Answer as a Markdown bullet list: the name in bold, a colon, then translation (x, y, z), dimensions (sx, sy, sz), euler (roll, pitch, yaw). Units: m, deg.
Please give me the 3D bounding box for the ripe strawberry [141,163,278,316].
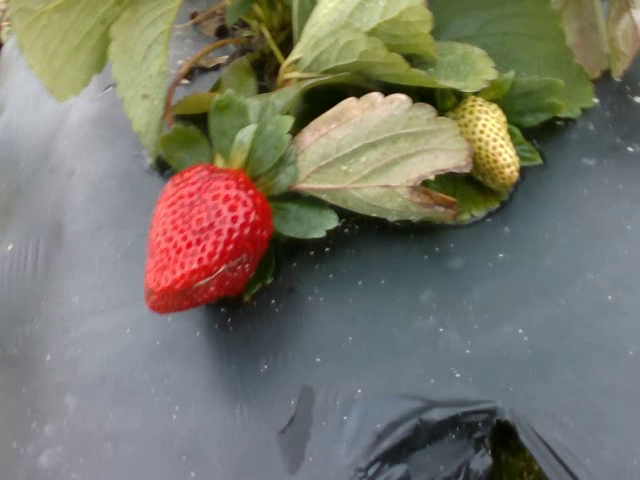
- **ripe strawberry**: translation (-0.040, 0.002, 0.191), dimensions (0.048, 0.046, 0.064), euler (32, 40, 2)
